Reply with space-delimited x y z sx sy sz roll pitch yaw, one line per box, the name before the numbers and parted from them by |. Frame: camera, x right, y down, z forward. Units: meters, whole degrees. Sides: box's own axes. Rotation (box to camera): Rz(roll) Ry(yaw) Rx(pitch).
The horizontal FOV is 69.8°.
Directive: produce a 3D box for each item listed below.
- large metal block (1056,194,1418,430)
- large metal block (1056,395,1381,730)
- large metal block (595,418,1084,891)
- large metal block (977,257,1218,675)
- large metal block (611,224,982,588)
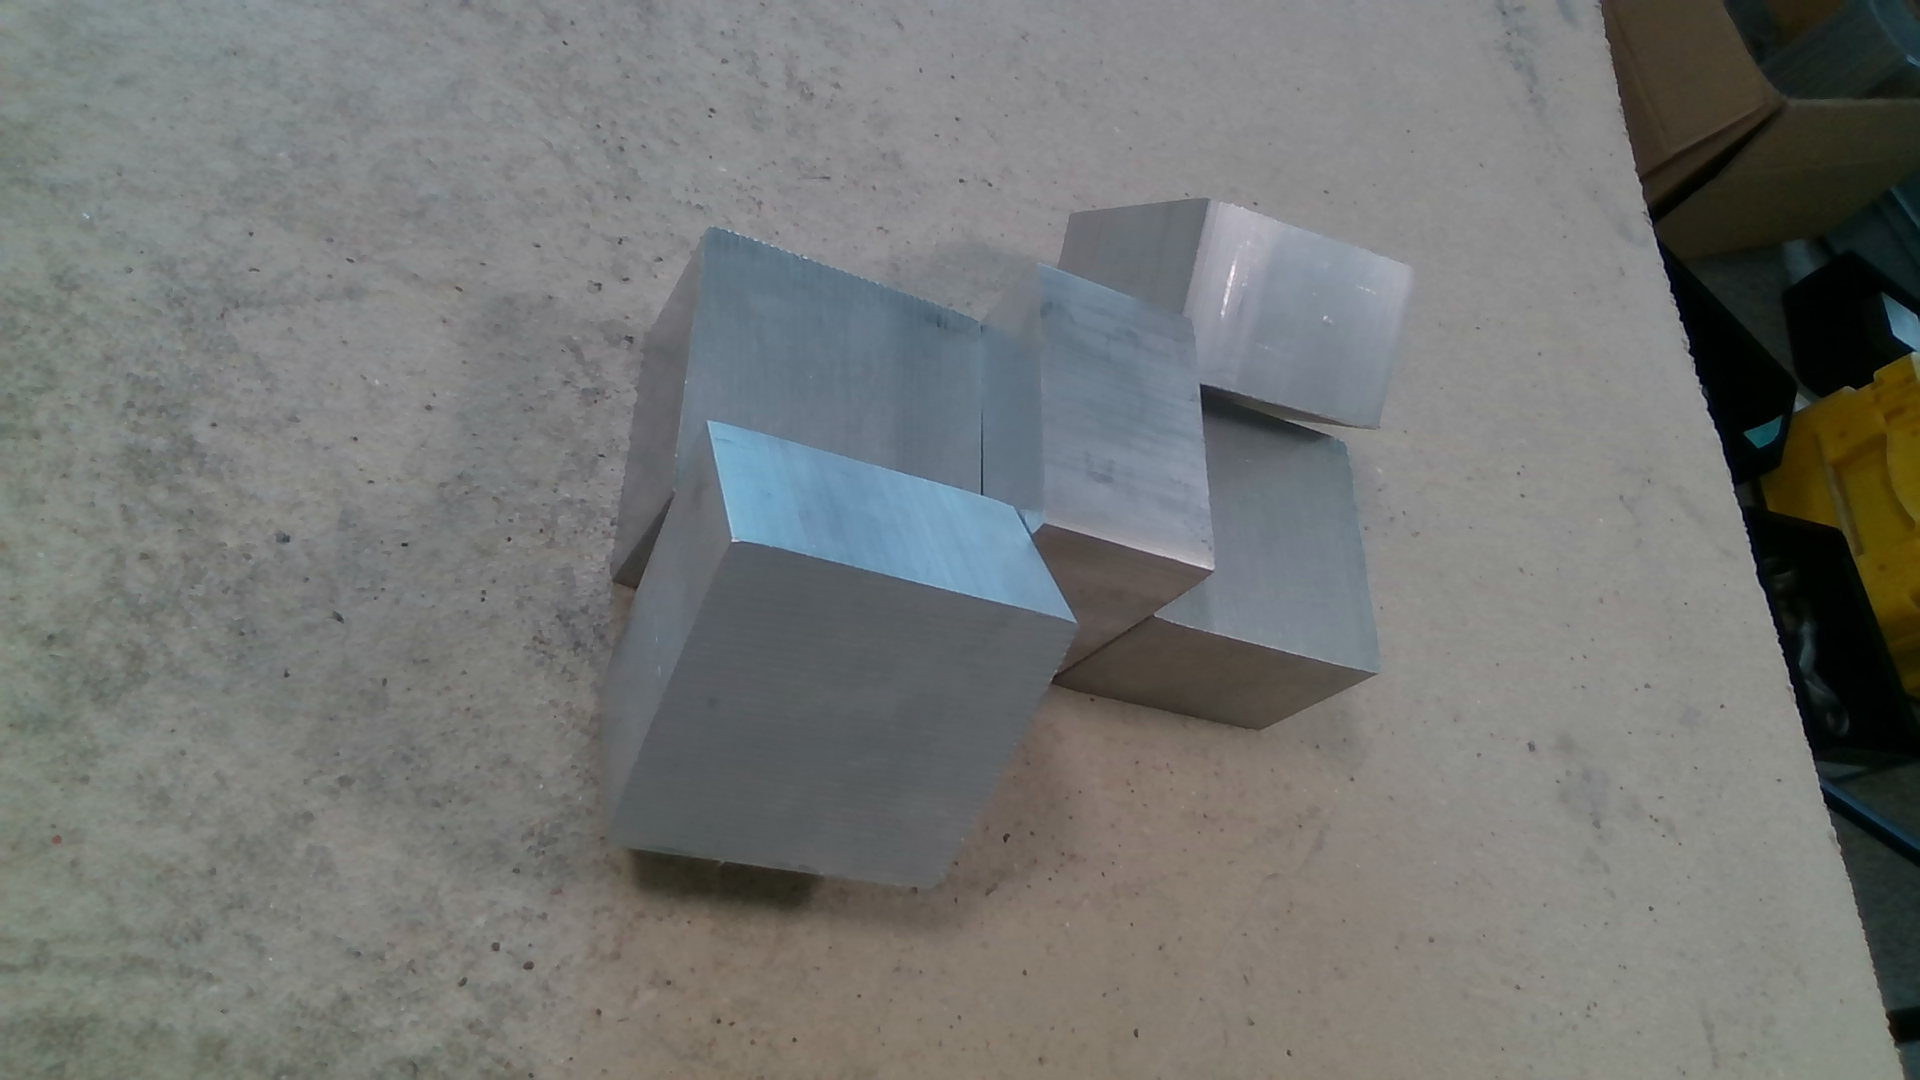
large metal block | 0.081 -0.071 0.437 0.080 0.080 0.050 11 94 -27
large metal block | 0.074 0.005 0.418 0.080 0.050 0.080 15 58 -25
large metal block | -0.031 0.028 0.314 0.080 0.080 0.050 15 27 -25
large metal block | 0.023 -0.016 0.381 0.050 0.080 0.080 15 58 -25
large metal block | -0.041 -0.025 0.366 0.080 0.050 0.080 15 58 -24
